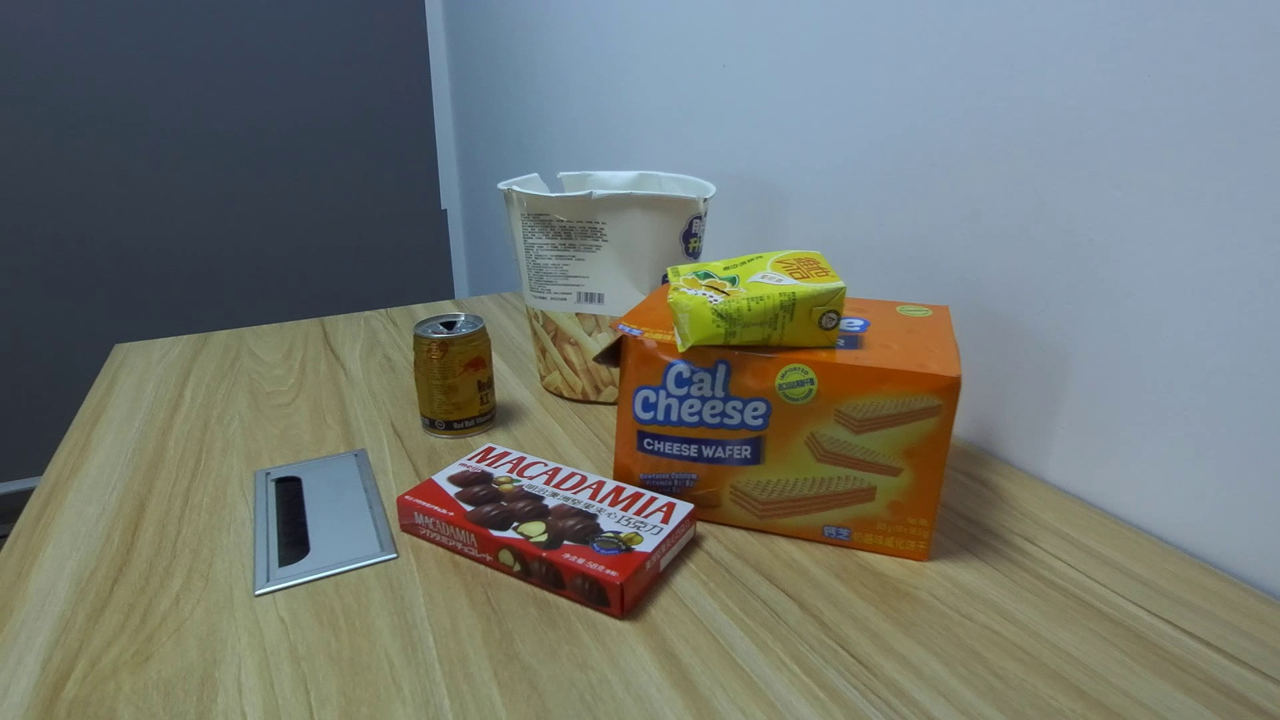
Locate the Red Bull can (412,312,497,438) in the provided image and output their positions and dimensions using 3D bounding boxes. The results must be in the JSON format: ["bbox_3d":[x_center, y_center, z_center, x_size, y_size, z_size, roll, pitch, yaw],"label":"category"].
[{"bbox_3d":[-0.161,0.013,0.614,0.068,0.093,0.068,0,20,0],"label":"Red Bull can"}]

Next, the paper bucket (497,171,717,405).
[{"bbox_3d":[-0.031,-0.077,0.686,0.202,0.197,0.146,3,21,6],"label":"paper bucket"}]

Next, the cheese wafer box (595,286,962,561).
[{"bbox_3d":[0.100,0.028,0.506,0.226,0.137,0.150,7,23,18],"label":"cheese wafer box"}]

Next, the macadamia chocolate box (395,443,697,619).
[{"bbox_3d":[-0.062,0.104,0.466,0.177,0.027,0.096,12,24,28],"label":"macadamia chocolate box"}]

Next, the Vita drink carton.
[{"bbox_3d":[0.070,-0.036,0.454,0.108,0.042,0.087,-4,28,-1],"label":"Vita drink carton"}]
